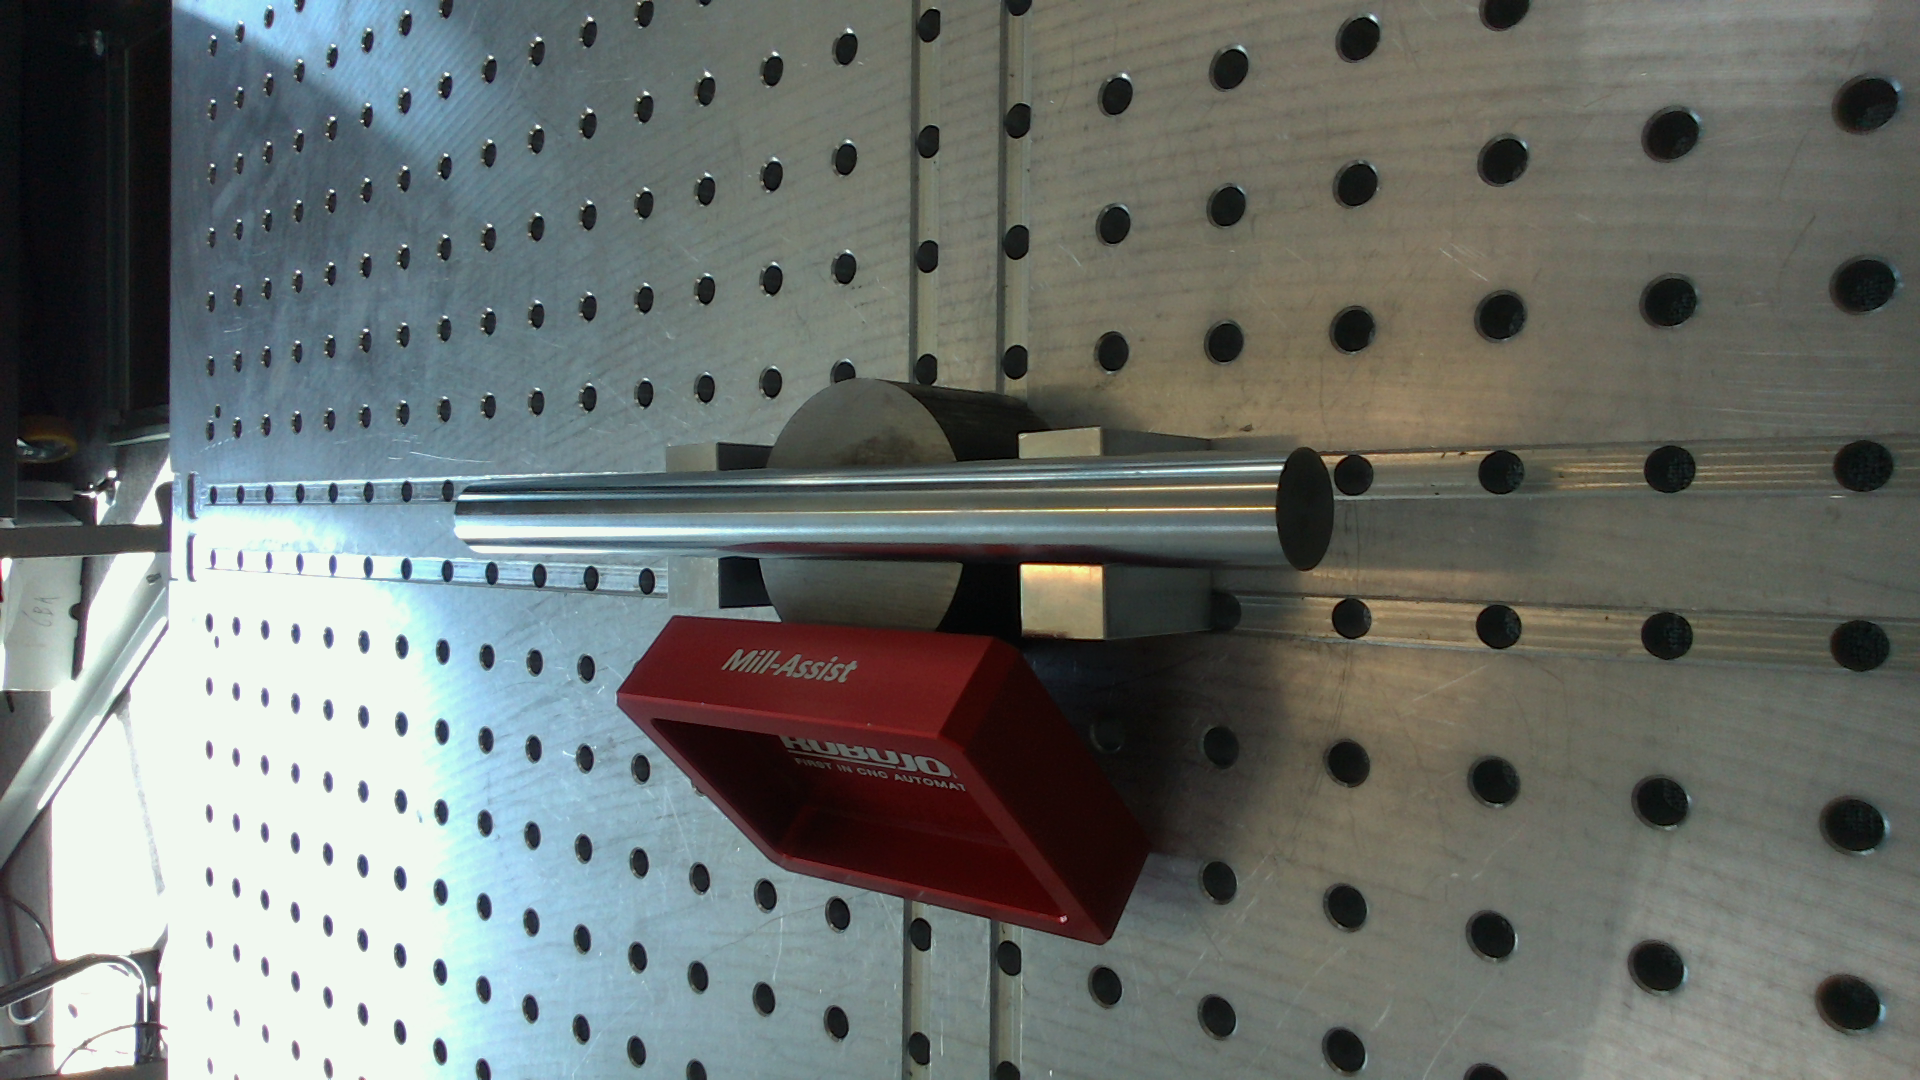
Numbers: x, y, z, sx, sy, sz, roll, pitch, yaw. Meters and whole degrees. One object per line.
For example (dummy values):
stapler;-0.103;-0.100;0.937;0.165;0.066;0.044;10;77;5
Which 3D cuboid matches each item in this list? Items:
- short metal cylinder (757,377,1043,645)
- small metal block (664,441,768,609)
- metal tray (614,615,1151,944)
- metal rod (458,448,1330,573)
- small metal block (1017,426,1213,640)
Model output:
short metal cylinder;-0.013;-0.004;0.392;0.080;0.050;0.080;0;90;40
small metal block;-0.066;-0.004;0.437;0.025;0.050;0.050;-1;89;40
metal tray;-0.024;0.063;0.378;0.129;0.090;0.030;1;47;40
metal rod;-0.046;-0.008;0.370;0.299;0.025;0.025;1;91;40
small metal block;0.040;-0.001;0.348;0.025;0.050;0.050;-1;89;40
